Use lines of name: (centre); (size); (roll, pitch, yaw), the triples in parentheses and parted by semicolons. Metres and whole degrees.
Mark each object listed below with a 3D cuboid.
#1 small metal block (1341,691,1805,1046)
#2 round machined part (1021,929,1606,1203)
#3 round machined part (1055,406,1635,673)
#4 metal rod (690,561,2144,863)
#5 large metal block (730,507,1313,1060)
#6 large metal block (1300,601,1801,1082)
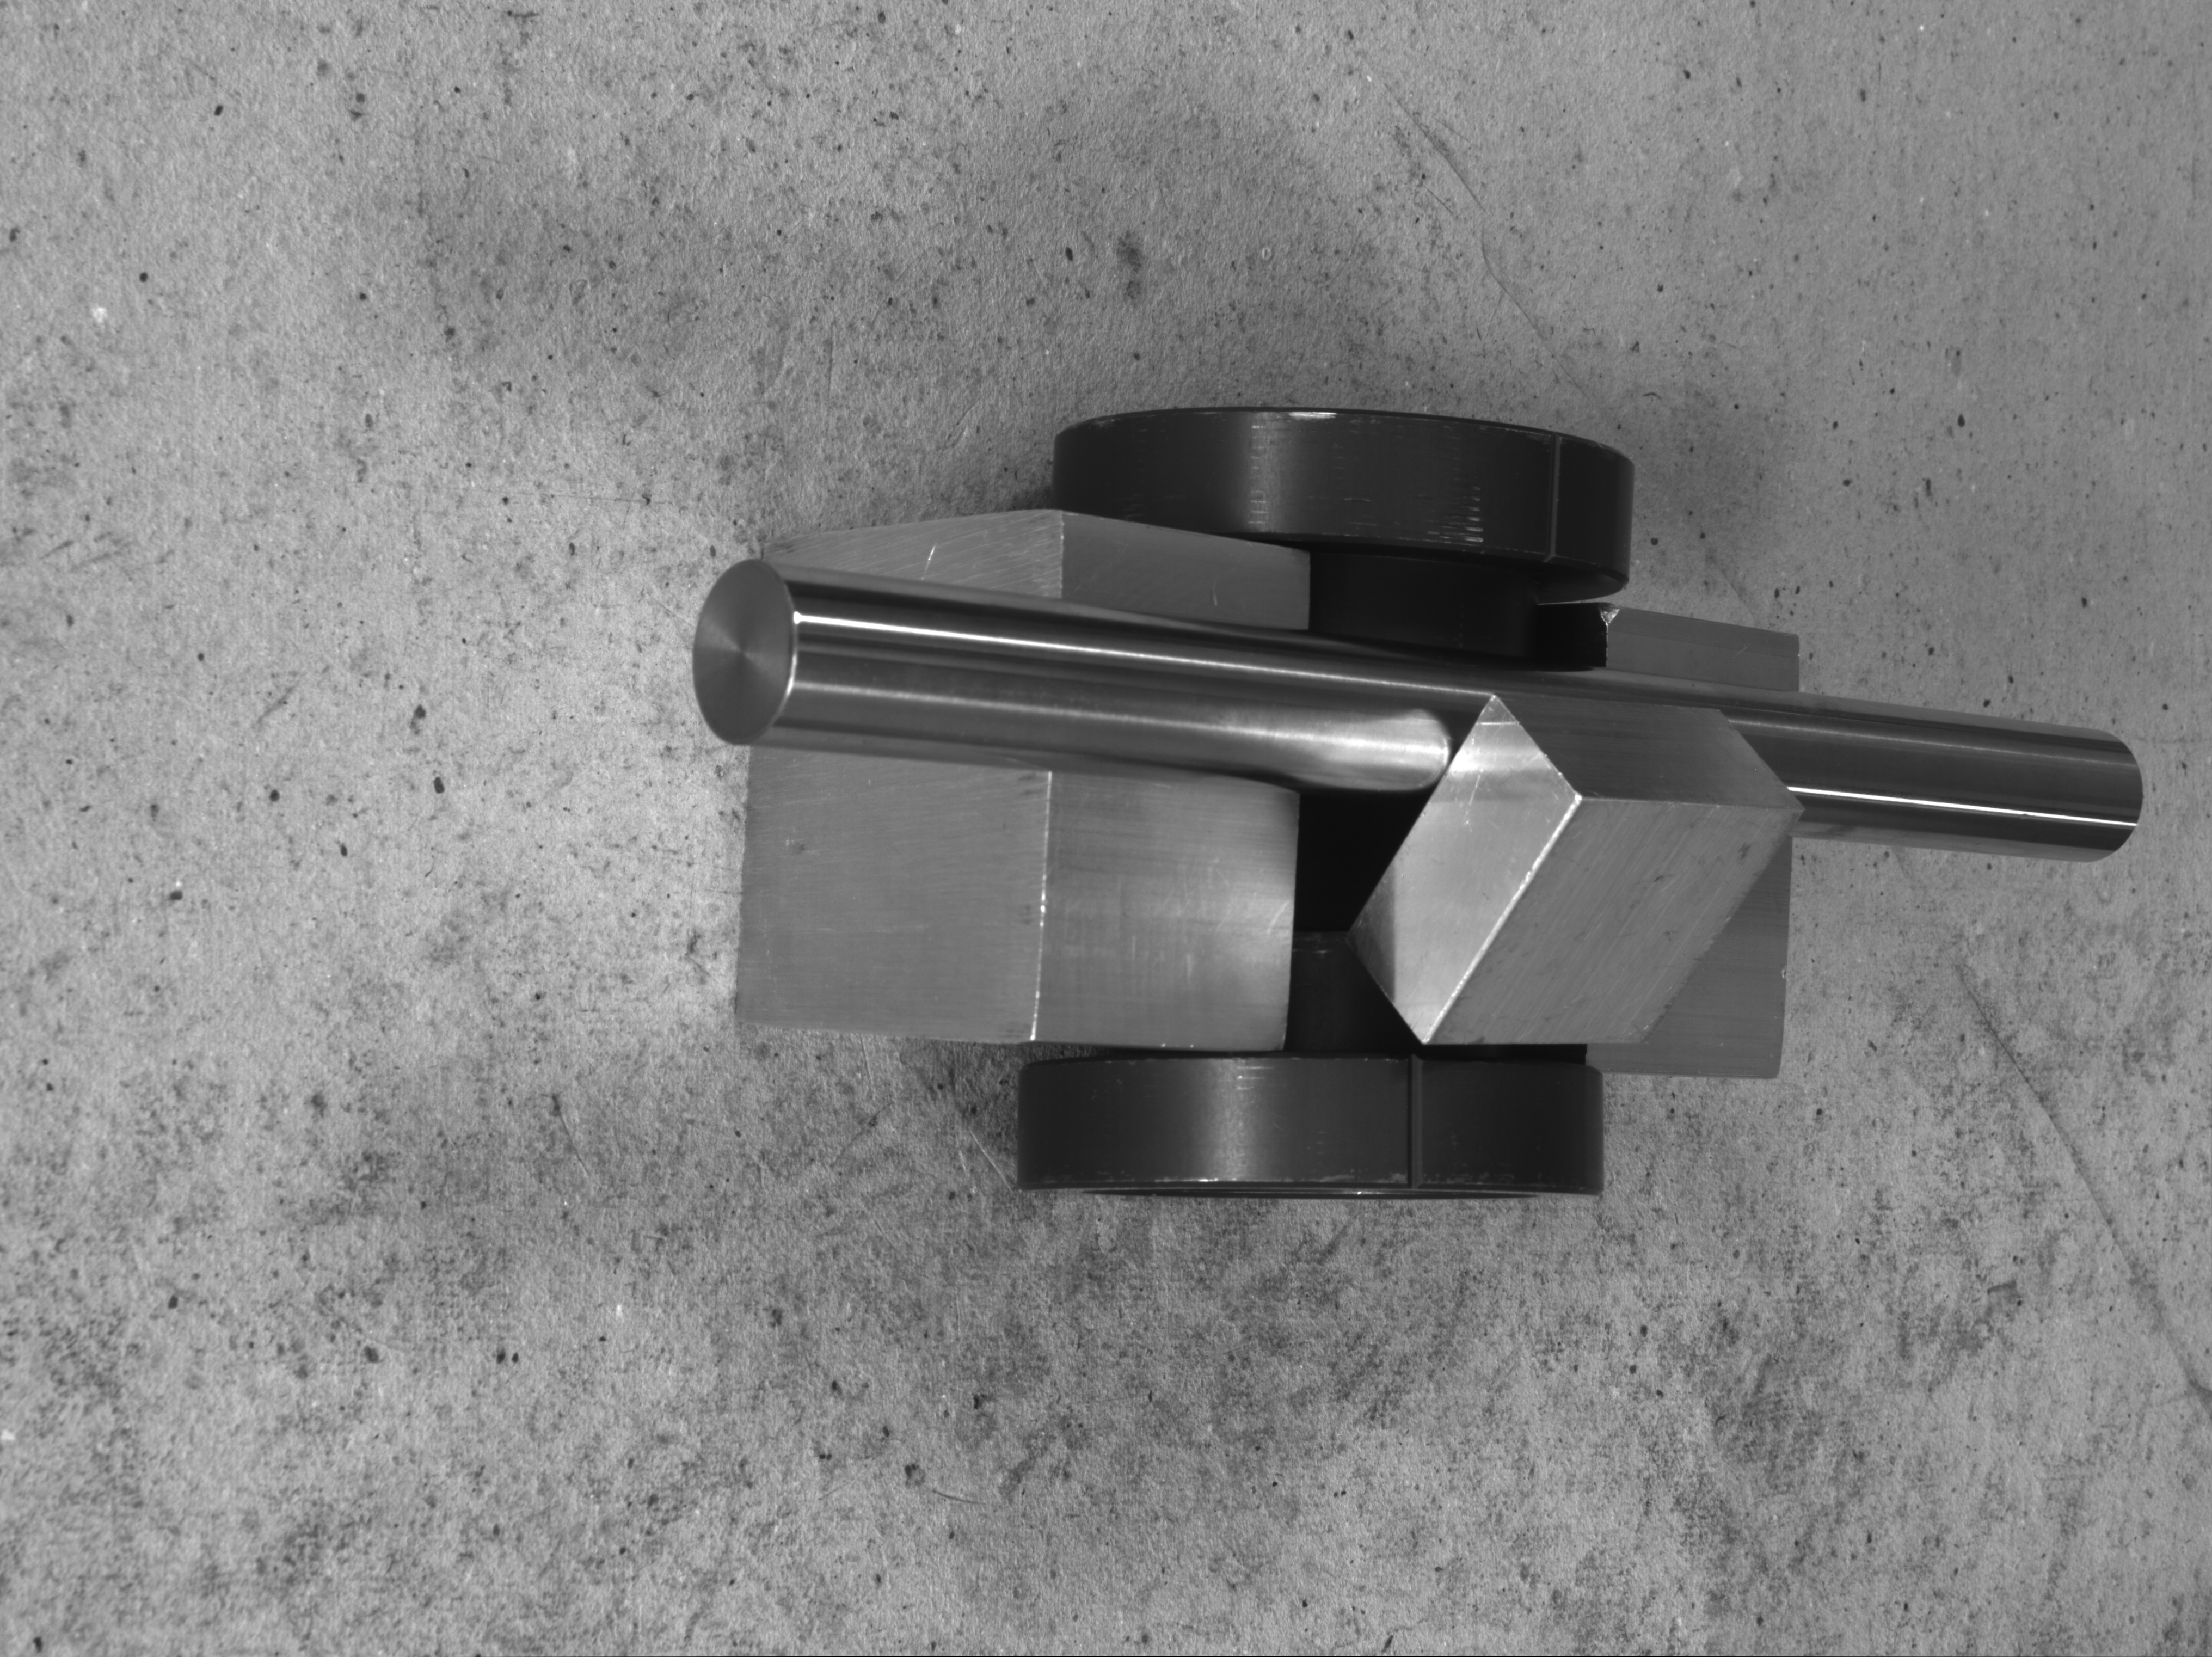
small metal block: (0.073, 0.007, 0.576); (0.050, 0.025, 0.050); (2, 129, -38)
round machined part: (0.035, 0.041, 0.618); (0.098, 0.098, 0.042); (6, 81, -39)
round machined part: (0.039, -0.043, 0.622); (0.098, 0.098, 0.042); (5, 87, -40)
metal rod: (0.067, -0.015, 0.589); (0.301, 0.025, 0.025); (4, 87, -39)
large metal block: (-0.015, -0.006, 0.589); (0.050, 0.080, 0.080); (6, 86, -39)
large metal block: (0.077, 0.003, 0.665); (0.050, 0.080, 0.080); (5, 87, -40)
